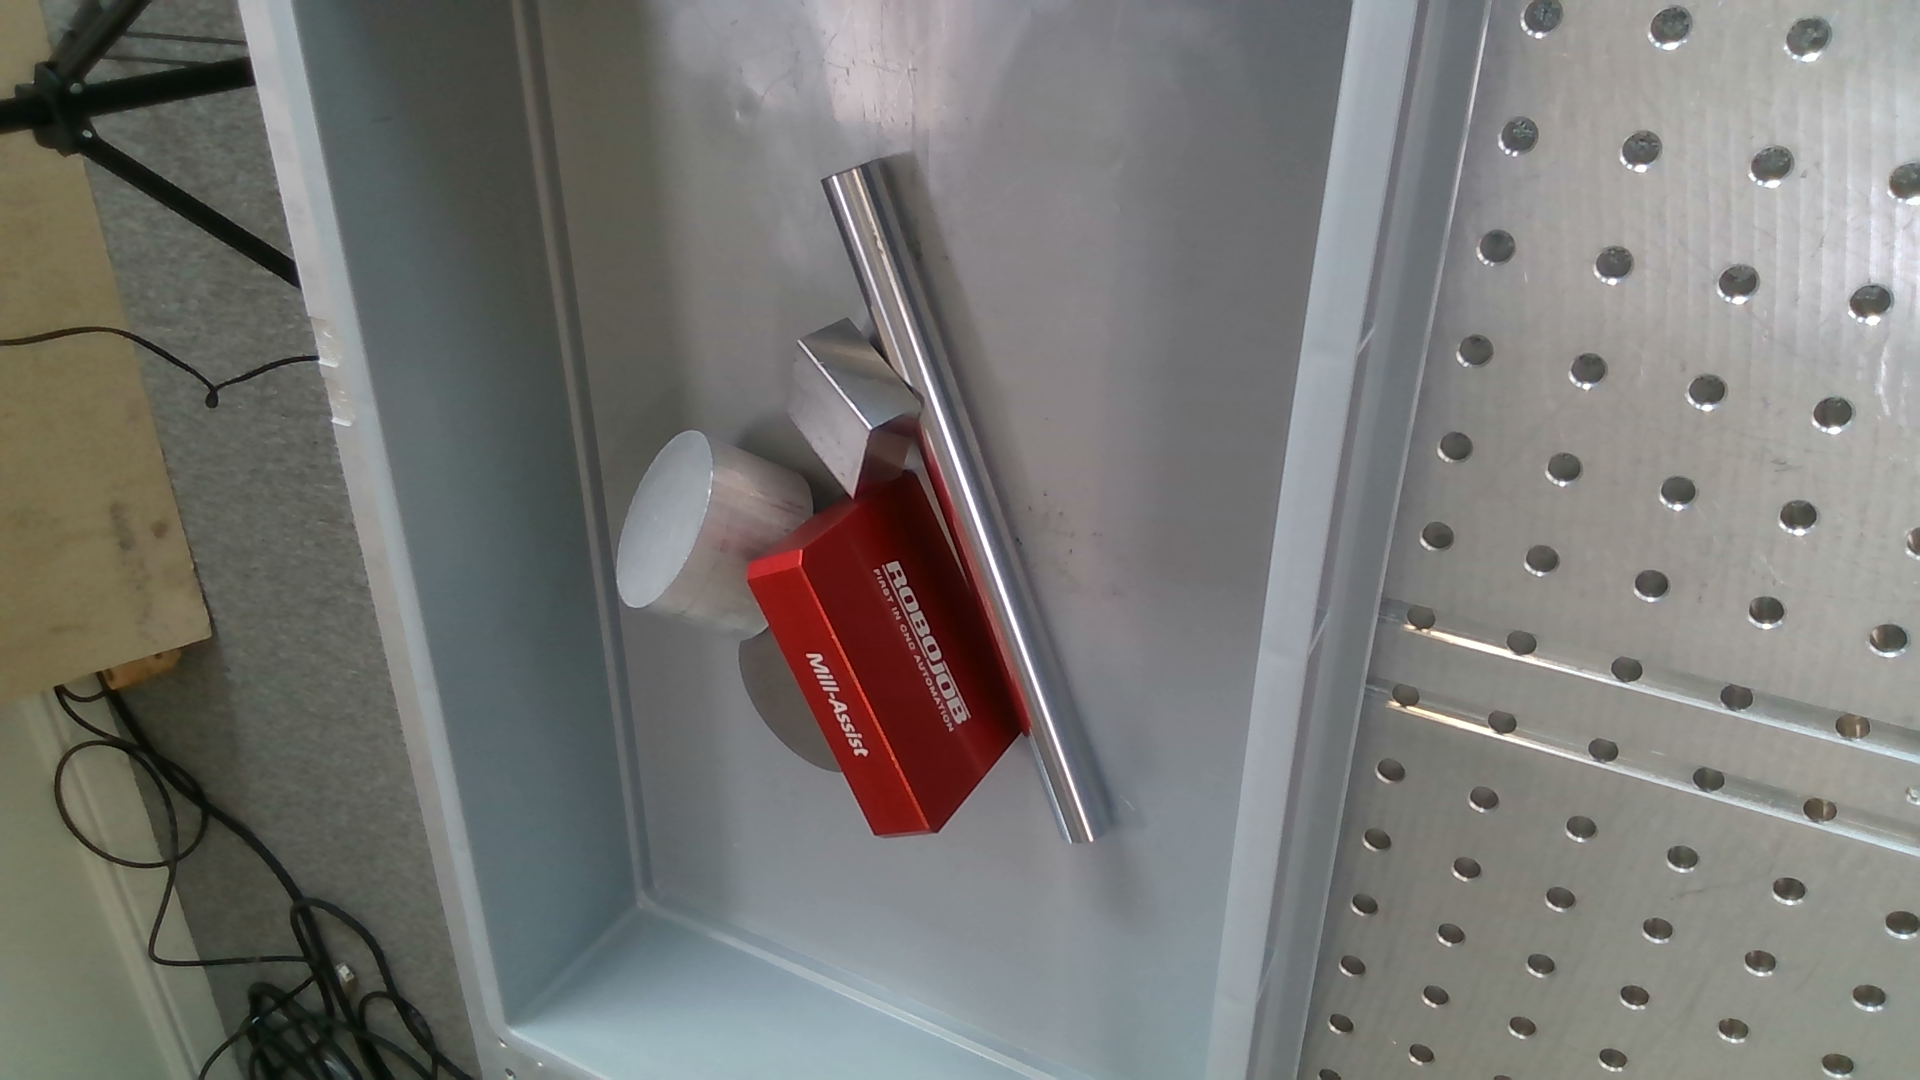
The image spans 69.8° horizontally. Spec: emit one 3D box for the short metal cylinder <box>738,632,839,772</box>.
[{"bbox_3d":[-0.053,0.057,0.620,0.080,0.050,0.080,22,130,30],"label":"short metal cylinder"}]

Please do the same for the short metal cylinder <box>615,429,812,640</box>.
[{"bbox_3d":[-0.108,-0.002,0.600,0.050,0.080,0.080,23,140,-34],"label":"short metal cylinder"}]

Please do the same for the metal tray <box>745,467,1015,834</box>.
[{"bbox_3d":[-0.028,0.046,0.579,0.030,0.090,0.130,-14,107,36],"label":"metal tray"}]

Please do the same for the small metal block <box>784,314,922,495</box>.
[{"bbox_3d":[-0.045,-0.054,0.560,0.050,0.025,0.050,51,150,18],"label":"small metal block"}]

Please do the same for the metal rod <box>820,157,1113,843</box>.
[{"bbox_3d":[0.007,-0.007,0.570,0.025,0.025,0.301,-8,111,34],"label":"metal rod"}]
